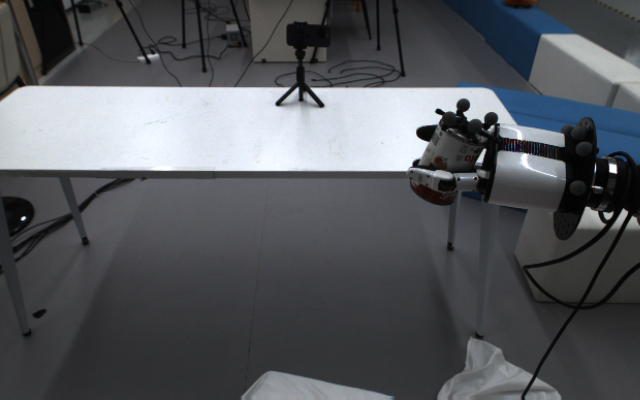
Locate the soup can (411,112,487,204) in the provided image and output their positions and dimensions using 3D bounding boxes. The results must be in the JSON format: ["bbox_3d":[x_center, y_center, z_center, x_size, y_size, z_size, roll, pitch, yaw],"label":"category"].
[{"bbox_3d":[0.172,-0.053,0.649,0.067,0.101,0.067,14,35,-10],"label":"soup can"}]
